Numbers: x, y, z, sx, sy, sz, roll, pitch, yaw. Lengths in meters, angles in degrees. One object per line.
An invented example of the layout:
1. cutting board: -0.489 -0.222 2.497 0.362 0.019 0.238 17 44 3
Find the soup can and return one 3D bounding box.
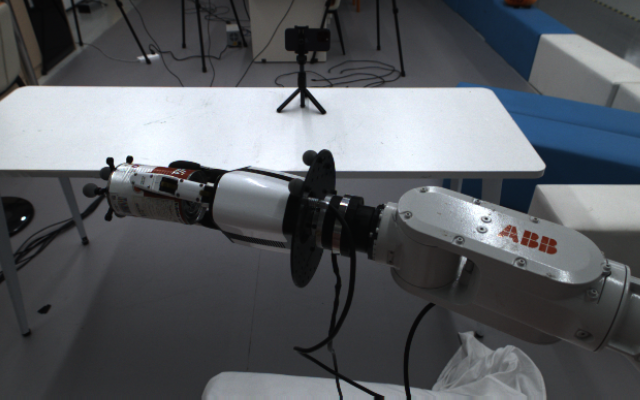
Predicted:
1. soup can: -0.196 -0.007 0.596 0.101 0.067 0.067 6 35 11
